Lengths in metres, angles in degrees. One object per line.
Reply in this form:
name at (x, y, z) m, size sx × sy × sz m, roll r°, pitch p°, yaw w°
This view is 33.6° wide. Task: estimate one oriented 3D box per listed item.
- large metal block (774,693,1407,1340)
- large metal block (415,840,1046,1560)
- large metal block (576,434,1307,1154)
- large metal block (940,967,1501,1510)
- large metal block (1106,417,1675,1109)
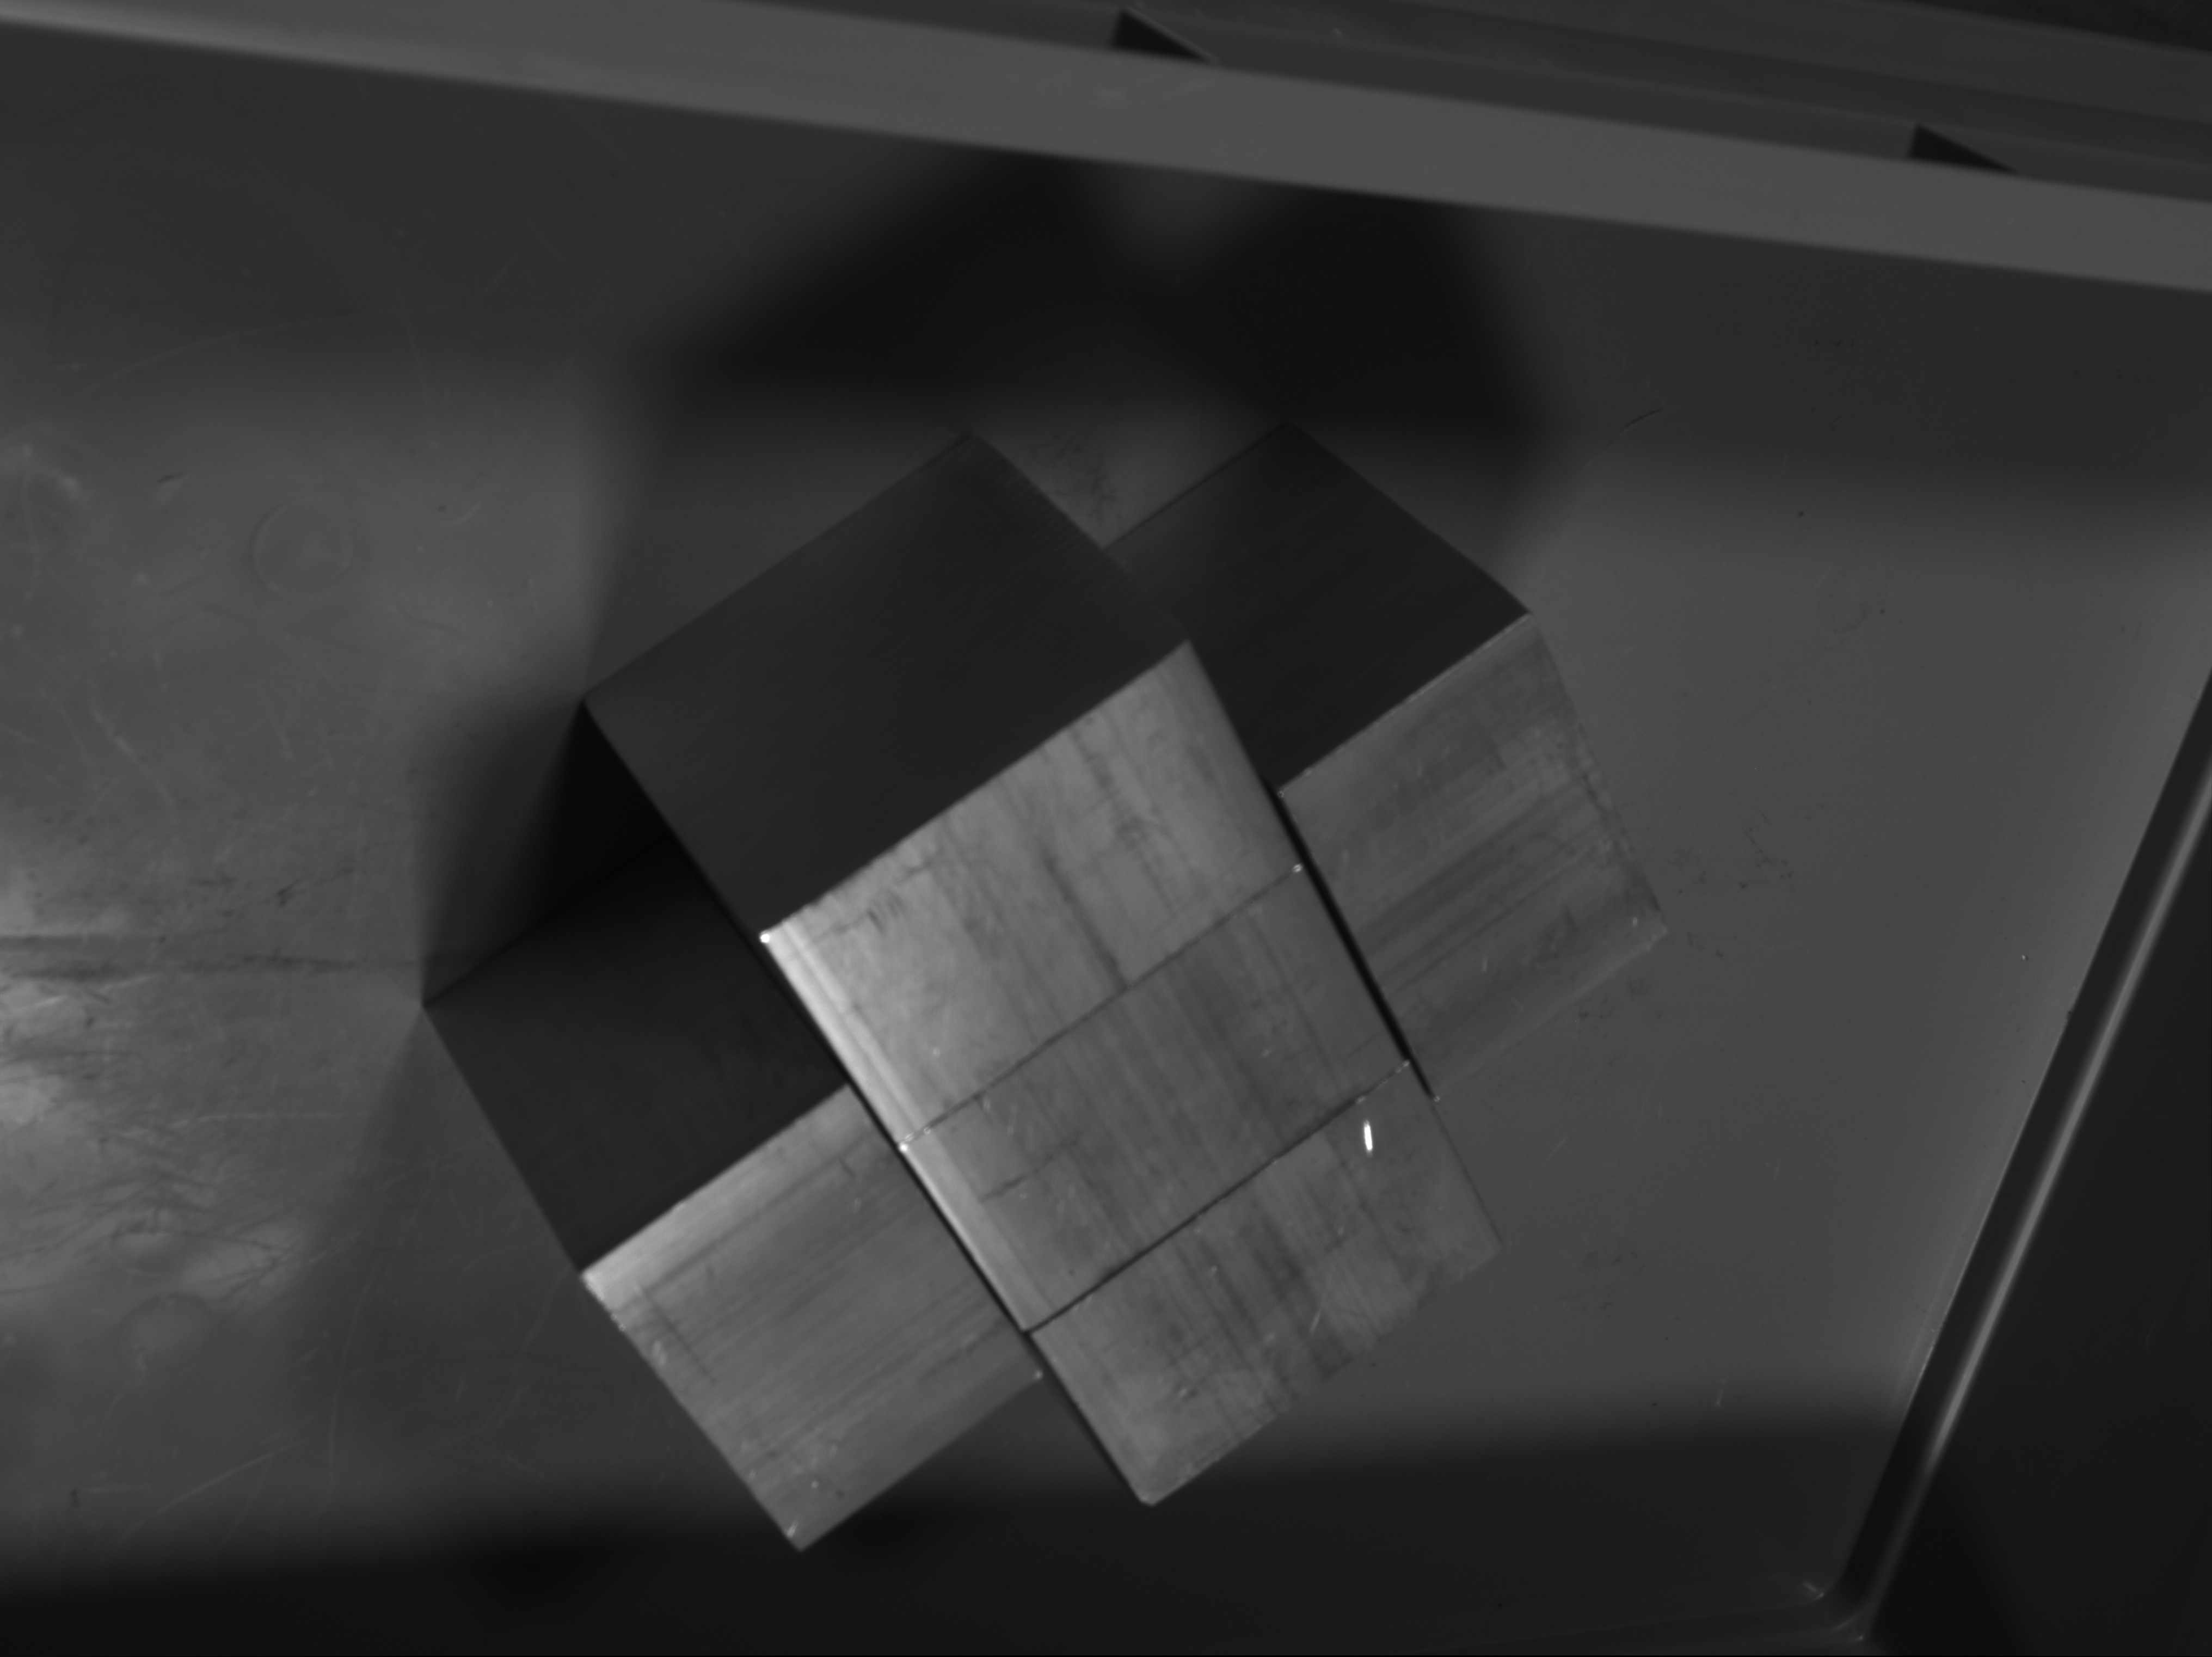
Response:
large metal block at (-0.009, 0.026, 0.626) m, size 0.080 × 0.080 × 0.050 m, roll -35°, pitch 130°, yaw -7°
large metal block at (-0.063, 0.061, 0.616) m, size 0.050 × 0.080 × 0.080 m, roll -35°, pitch 130°, yaw -7°
large metal block at (-0.028, -0.008, 0.593) m, size 0.080 × 0.080 × 0.050 m, roll -35°, pitch 130°, yaw -7°
large metal block at (0.010, 0.061, 0.658) m, size 0.080 × 0.080 × 0.050 m, roll -35°, pitch 130°, yaw -7°
large metal block at (0.045, -0.012, 0.633) m, size 0.050 × 0.080 × 0.080 m, roll -35°, pitch 130°, yaw -7°
